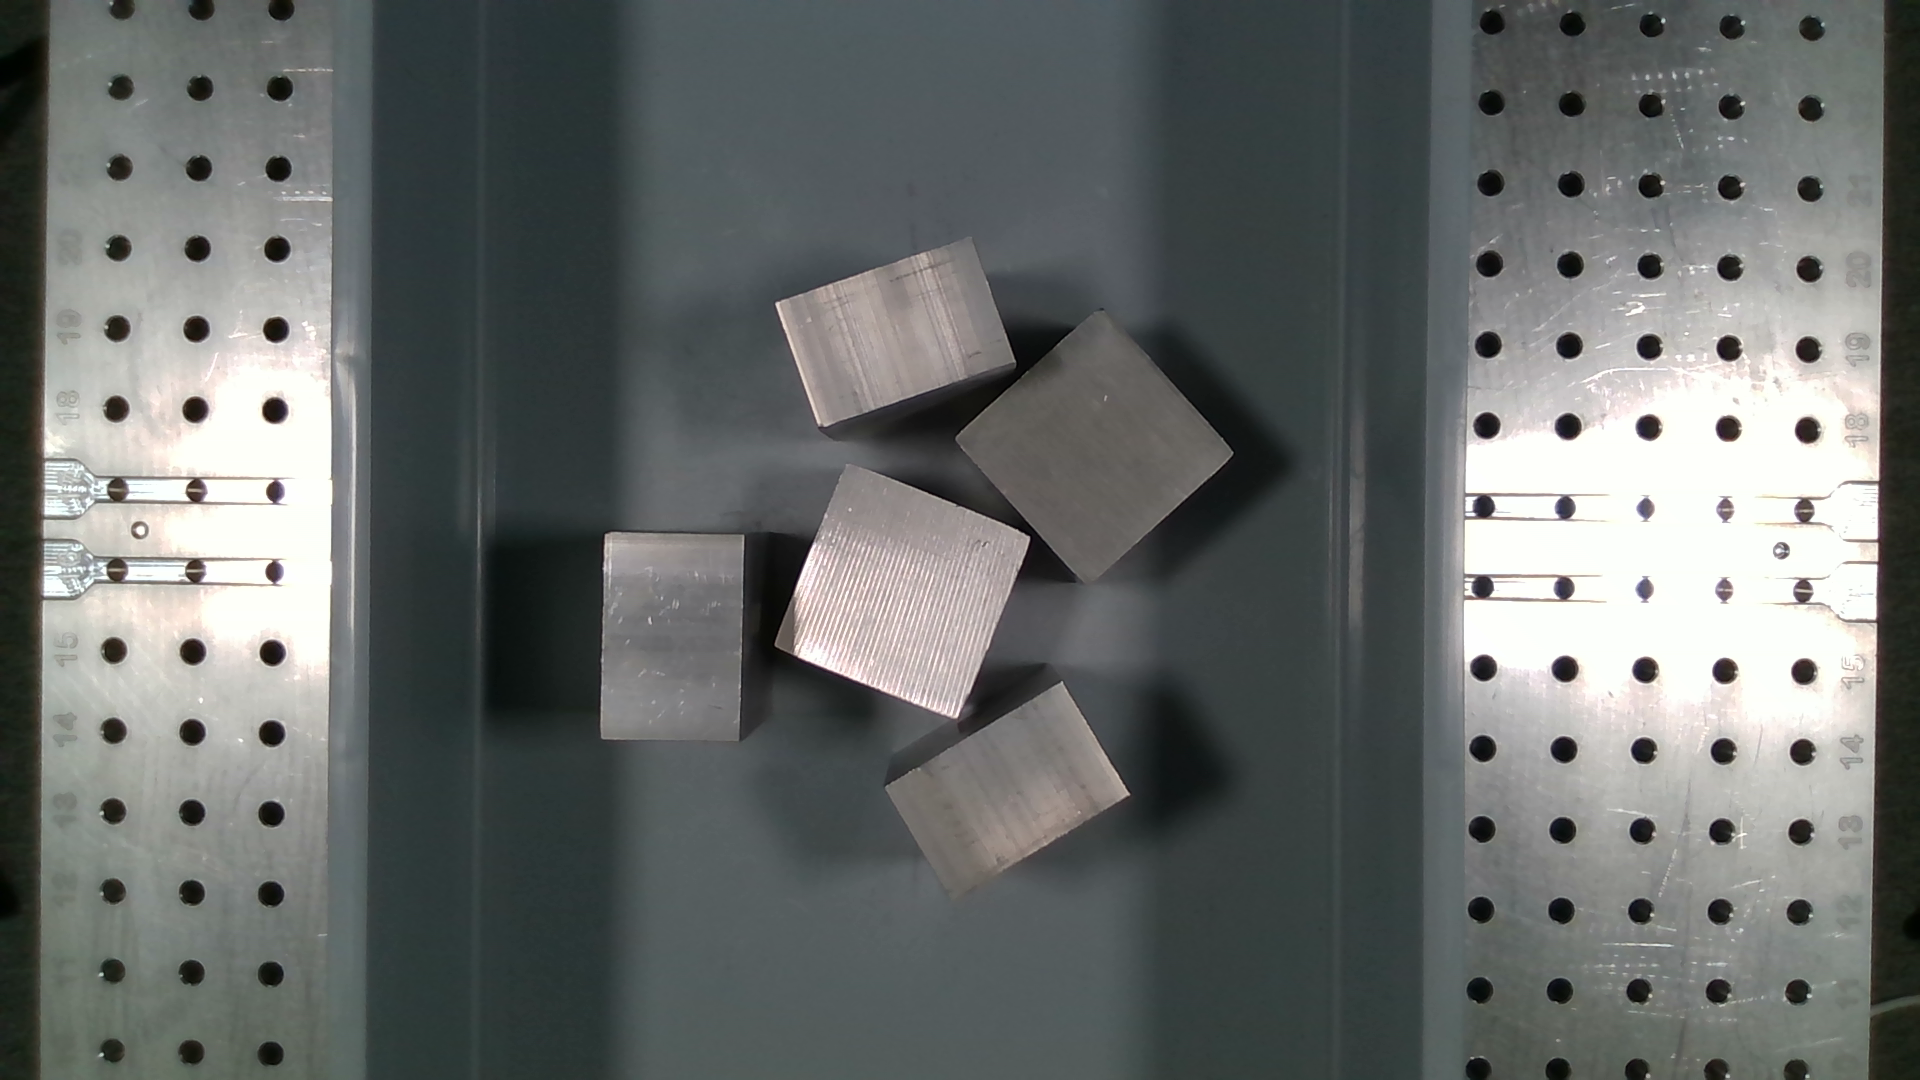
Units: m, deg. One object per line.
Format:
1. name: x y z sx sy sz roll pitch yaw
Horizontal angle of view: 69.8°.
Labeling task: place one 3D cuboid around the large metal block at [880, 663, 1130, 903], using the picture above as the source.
1. large metal block: 0.017 0.095 0.559 0.080 0.080 0.050 -31 90 0

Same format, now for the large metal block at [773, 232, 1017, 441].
1. large metal block: -0.024 -0.079 0.558 0.080 0.080 0.050 -19 90 0

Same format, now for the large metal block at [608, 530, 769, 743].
1. large metal block: -0.107 0.036 0.559 0.050 0.080 0.080 1 90 0

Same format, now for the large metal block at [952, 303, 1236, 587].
1. large metal block: 0.053 -0.038 0.573 0.080 0.050 0.080 -42 90 0

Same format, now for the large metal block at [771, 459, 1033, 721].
1. large metal block: -0.023 0.020 0.574 0.080 0.050 0.080 22 90 0
